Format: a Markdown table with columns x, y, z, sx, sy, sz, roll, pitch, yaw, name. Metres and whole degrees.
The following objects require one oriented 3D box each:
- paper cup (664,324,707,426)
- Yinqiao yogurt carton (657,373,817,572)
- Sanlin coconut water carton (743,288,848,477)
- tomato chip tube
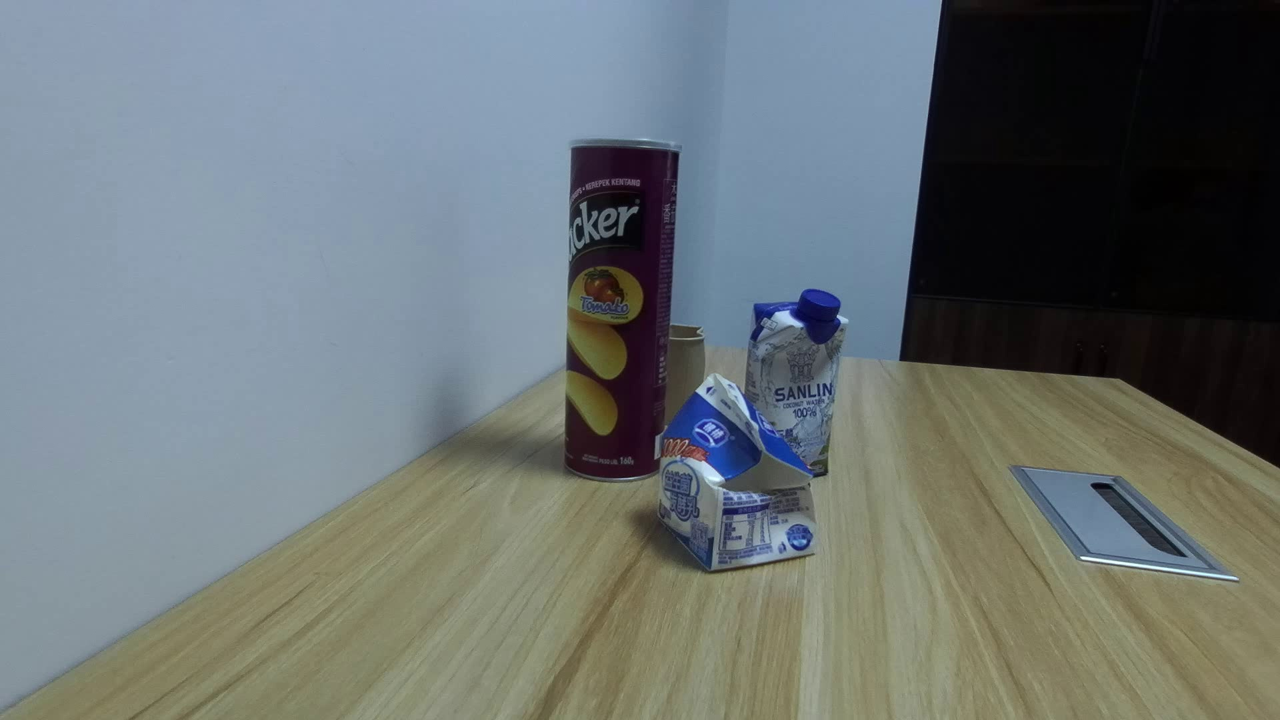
| x | y | z | sx | sy | sz | roll | pitch | yaw | name |
| --- | --- | --- | --- | --- | --- | --- | --- | --- | --- |
| 0.029 | 0.013 | 0.650 | 0.073 | 0.081 | 0.069 | 10 | 15 | 35 | paper cup |
| 0.057 | 0.060 | 0.418 | 0.077 | 0.093 | 0.083 | -3 | 15 | -22 | Yinqiao yogurt carton |
| 0.113 | 0.017 | 0.522 | 0.078 | 0.142 | 0.057 | -5 | 20 | -30 | Sanlin coconut water carton |
| -0.014 | -0.034 | 0.514 | 0.078 | 0.233 | 0.078 | 2 | 12 | 0 | tomato chip tube |
